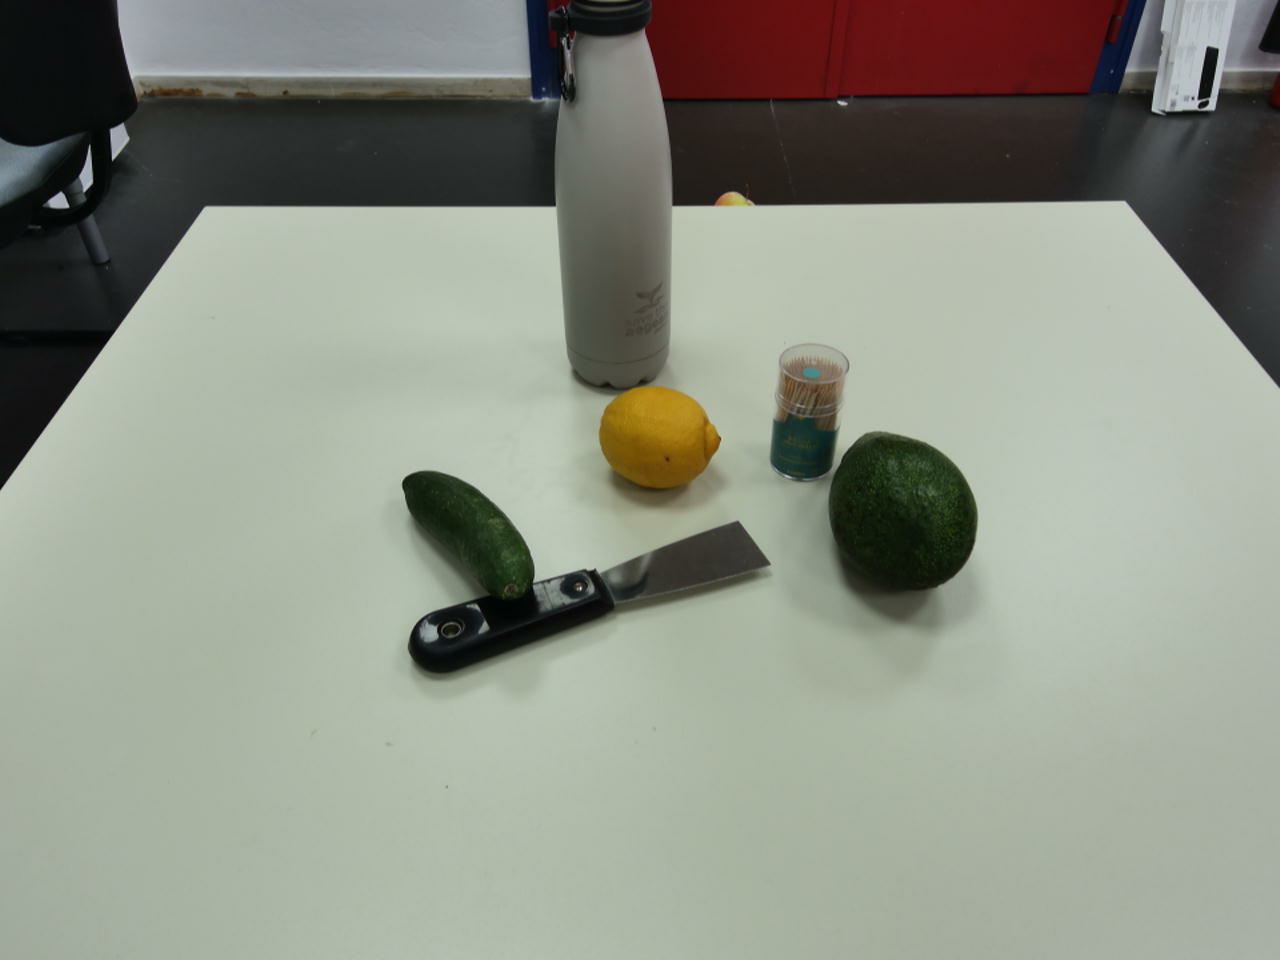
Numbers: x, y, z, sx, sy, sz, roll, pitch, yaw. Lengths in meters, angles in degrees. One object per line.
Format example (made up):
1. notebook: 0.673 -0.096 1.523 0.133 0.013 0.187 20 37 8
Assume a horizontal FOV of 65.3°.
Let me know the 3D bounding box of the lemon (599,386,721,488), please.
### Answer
1. lemon: 0.010 -0.025 0.591 0.067 0.059 0.060 30 48 31
